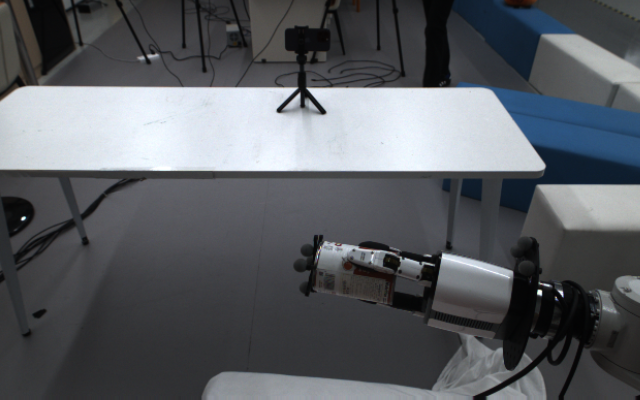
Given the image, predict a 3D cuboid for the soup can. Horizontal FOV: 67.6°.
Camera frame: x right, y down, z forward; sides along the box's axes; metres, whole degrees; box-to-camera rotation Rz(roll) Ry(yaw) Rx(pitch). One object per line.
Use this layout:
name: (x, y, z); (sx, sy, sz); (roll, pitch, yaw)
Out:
soup can: (0.050, 0.092, 0.621); (0.101, 0.067, 0.067); (8, 35, 9)
